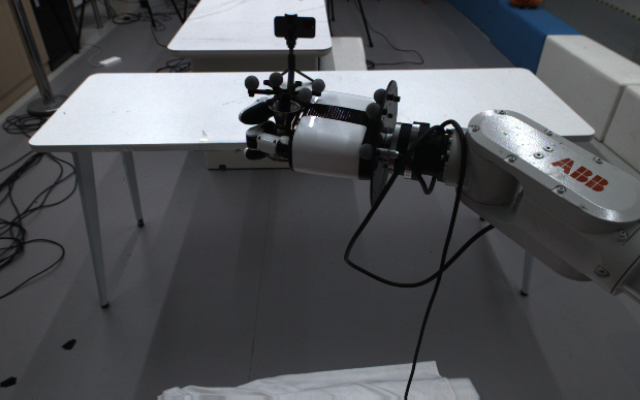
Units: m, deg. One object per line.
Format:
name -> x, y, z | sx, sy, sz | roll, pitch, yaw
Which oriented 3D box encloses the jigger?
jigger -> -0.043, -0.089, 0.624 | 0.043, 0.071, 0.043 | 4, 31, -2
